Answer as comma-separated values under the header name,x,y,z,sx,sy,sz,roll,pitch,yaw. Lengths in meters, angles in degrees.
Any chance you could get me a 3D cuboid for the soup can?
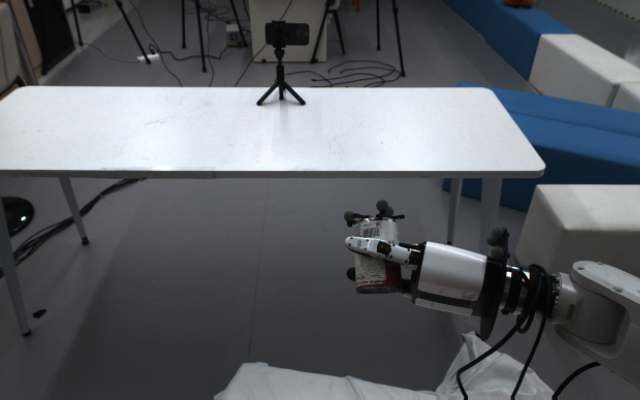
name,x,y,z,sx,sy,sz,roll,pitch,yaw
soup can,0.086,0.082,0.706,0.067,0.067,0.101,-2,71,-5
